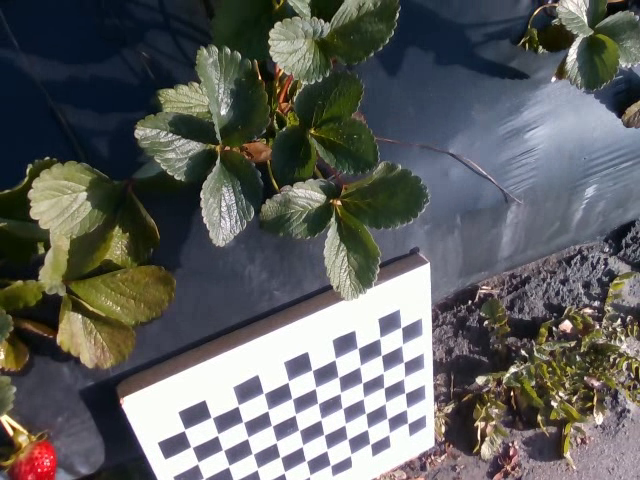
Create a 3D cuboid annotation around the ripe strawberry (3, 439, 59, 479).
[{"bbox_3d":[-0.210,0.170,0.455,0.040,0.044,0.037,-36,28,-3],"label":"ripe strawberry"}]
